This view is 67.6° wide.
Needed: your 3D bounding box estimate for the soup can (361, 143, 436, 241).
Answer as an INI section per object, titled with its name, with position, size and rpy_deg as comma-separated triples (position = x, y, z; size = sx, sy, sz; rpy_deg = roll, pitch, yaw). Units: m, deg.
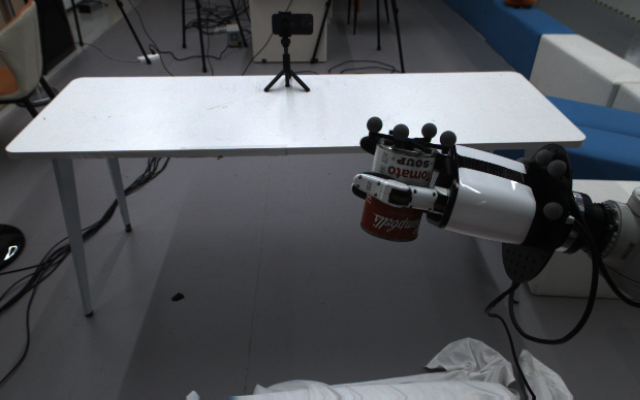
[soup can]
position = 0.090, -0.013, 0.546
size = 0.067, 0.101, 0.067
rpy_deg = 9, 19, -3
